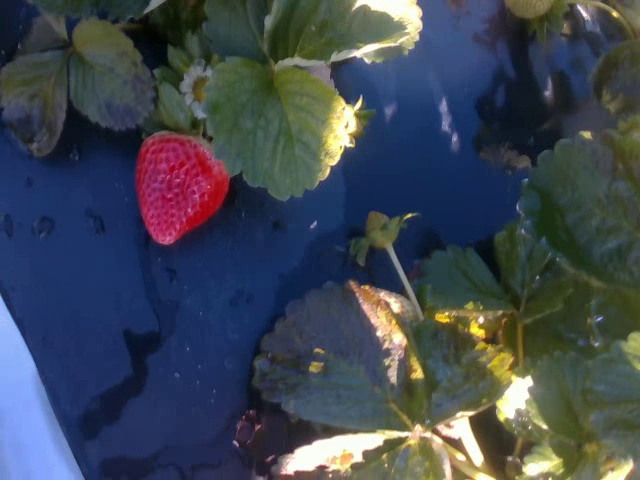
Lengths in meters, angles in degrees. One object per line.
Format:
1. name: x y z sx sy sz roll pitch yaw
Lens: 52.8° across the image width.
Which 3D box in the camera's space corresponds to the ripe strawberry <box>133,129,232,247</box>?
1. ripe strawberry: -0.062 -0.021 0.273 0.045 0.059 0.042 8 -14 25
